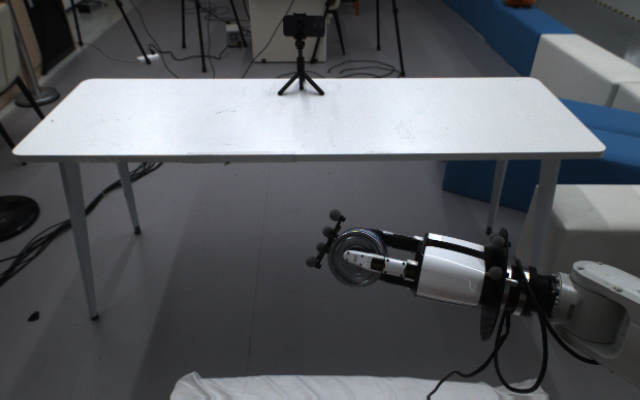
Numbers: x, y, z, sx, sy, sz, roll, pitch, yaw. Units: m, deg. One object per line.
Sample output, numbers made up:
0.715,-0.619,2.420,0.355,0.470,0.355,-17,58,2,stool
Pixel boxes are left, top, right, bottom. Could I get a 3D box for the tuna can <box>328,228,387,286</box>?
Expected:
0.058,0.082,0.714,0.085,0.085,0.034,8,5,8,tuna can
